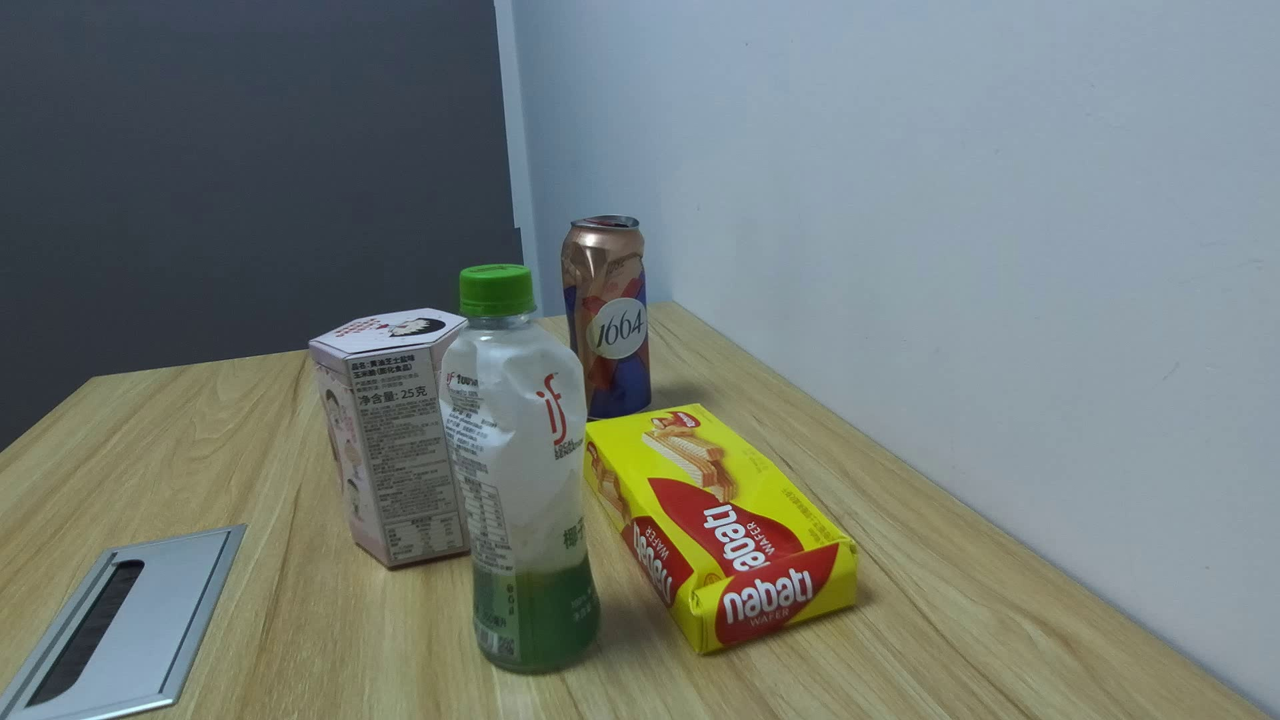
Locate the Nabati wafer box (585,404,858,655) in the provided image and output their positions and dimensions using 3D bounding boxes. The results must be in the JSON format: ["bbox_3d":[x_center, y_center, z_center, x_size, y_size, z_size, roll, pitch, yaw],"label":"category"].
[{"bbox_3d":[0.037,0.086,0.432,0.097,0.042,0.202,-8,21,-18],"label":"Nabati wafer box"}]

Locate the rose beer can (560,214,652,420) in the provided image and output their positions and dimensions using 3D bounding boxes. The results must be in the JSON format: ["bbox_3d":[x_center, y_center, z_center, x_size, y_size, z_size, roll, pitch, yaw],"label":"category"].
[{"bbox_3d":[-0.024,-0.032,0.584,0.076,0.167,0.065,-17,27,-39],"label":"rose beer can"}]

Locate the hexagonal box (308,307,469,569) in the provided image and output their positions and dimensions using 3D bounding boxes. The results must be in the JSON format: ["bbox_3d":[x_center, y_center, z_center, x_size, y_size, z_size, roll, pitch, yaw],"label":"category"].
[{"bbox_3d":[-0.141,0.045,0.431,0.083,0.136,0.091,2,20,14],"label":"hexagonal box"}]

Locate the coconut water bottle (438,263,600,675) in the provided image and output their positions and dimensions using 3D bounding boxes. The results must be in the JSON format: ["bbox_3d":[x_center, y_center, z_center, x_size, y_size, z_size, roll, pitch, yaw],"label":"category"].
[{"bbox_3d":[-0.056,0.052,0.333,0.067,0.187,0.067,-4,16,1],"label":"coconut water bottle"}]
